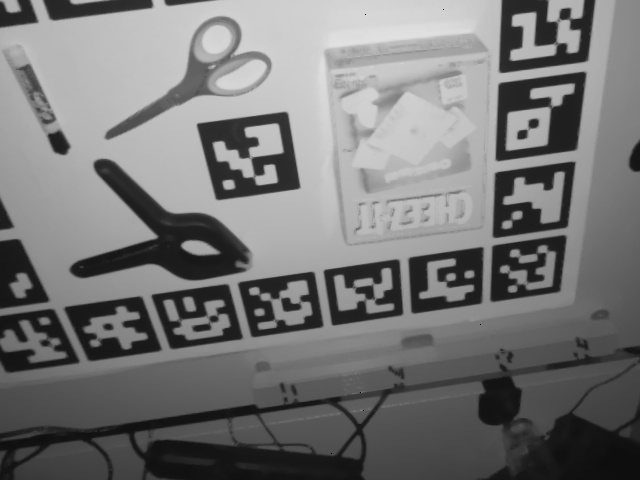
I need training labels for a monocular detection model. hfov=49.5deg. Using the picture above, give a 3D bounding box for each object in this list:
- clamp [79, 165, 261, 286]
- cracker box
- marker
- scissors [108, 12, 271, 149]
[{"bbox_3d":[-0.167,0.007,0.825,0.204,0.037,0.163,16,123,-17],"label":"clamp"},{"bbox_3d":[0.100,-0.106,0.743,0.164,0.072,0.212,-8,126,-1],"label":"cracker box"},{"bbox_3d":[-0.285,-0.129,0.708,0.019,0.020,0.120,-13,126,2],"label":"marker"},{"bbox_3d":[-0.143,-0.148,0.713,0.201,0.016,0.088,-32,124,18],"label":"scissors"}]
